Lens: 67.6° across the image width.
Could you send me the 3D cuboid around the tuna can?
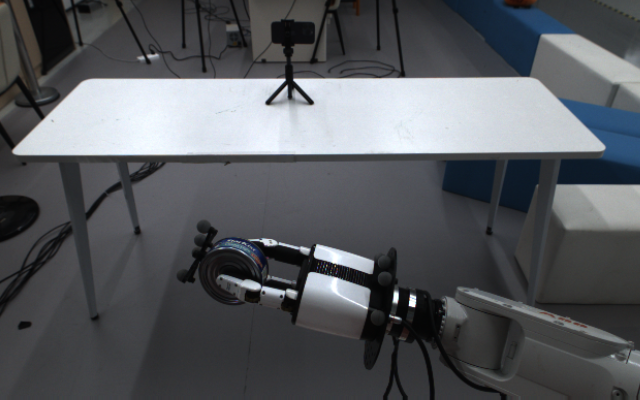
[{"bbox_3d":[-0.108,0.098,0.627,0.085,0.085,0.034,6,20,5],"label":"tuna can"}]
